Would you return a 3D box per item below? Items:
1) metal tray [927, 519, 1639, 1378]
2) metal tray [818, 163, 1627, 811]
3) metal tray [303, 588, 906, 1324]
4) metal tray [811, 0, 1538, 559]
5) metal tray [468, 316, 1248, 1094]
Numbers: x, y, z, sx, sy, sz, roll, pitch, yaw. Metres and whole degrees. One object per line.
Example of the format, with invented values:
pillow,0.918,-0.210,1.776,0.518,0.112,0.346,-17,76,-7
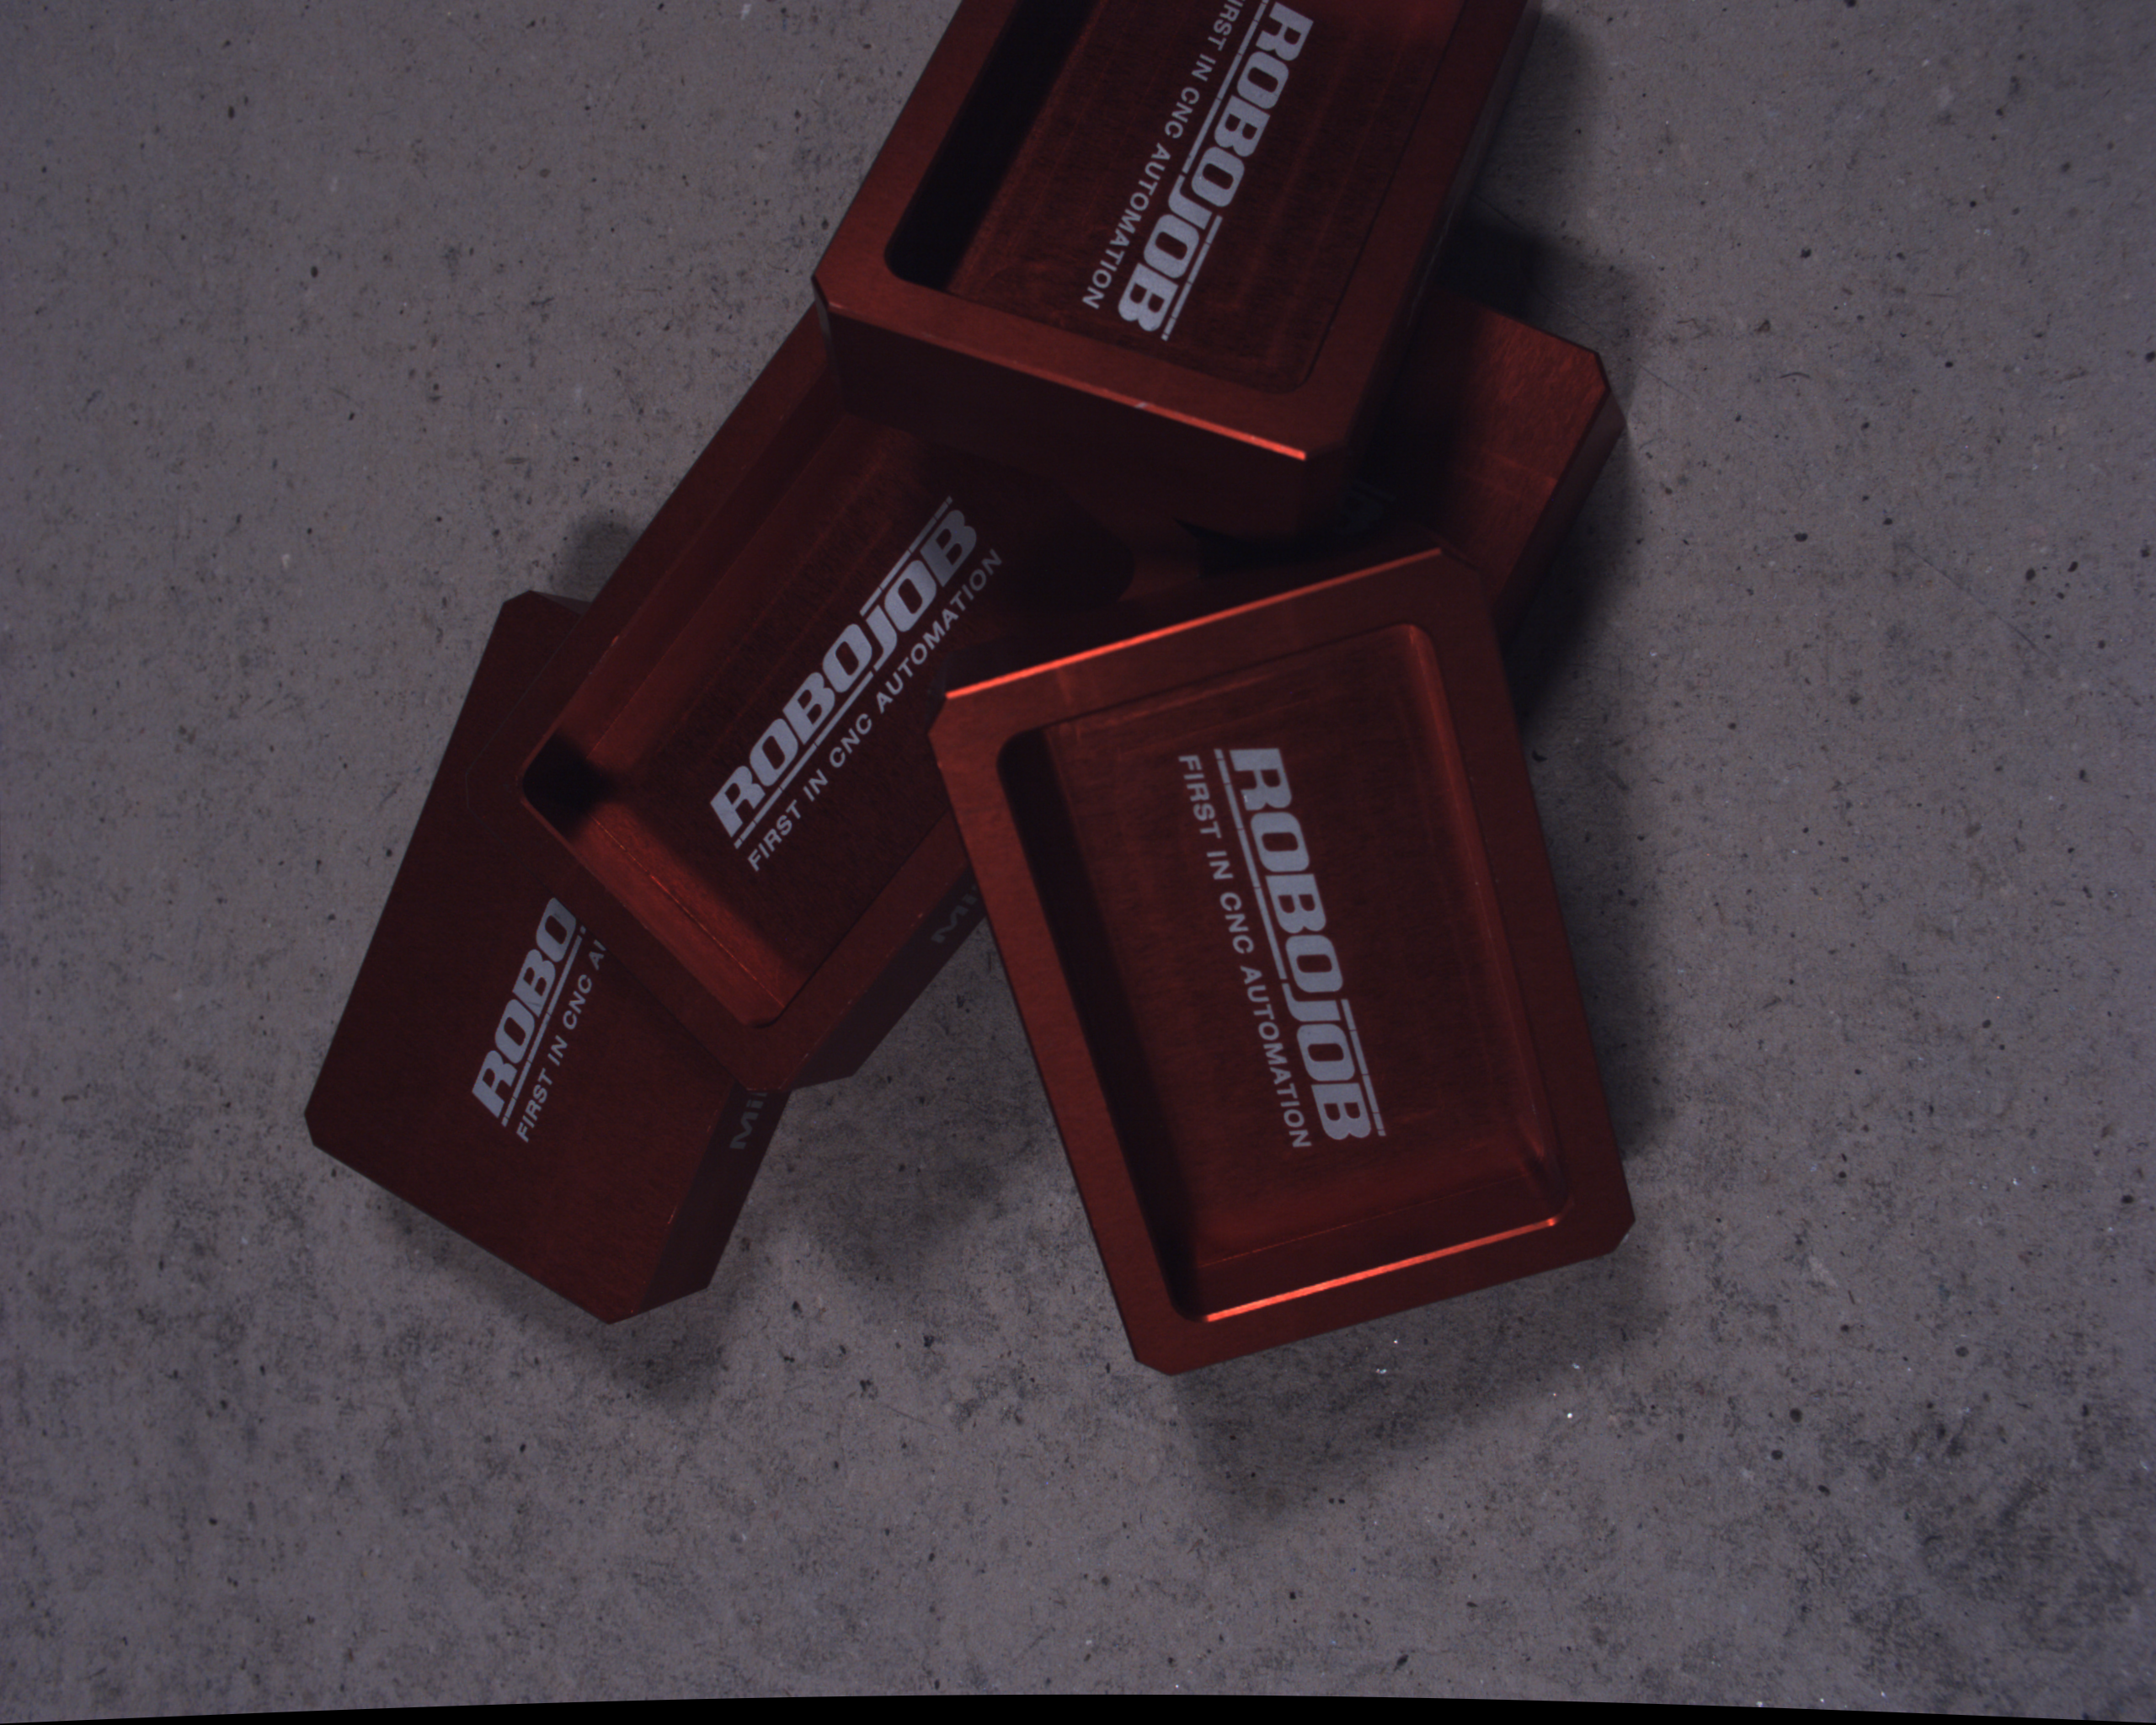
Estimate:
metal tray,0.036,0.017,0.358,0.090,0.030,0.129,-17,109,2
metal tray,0.025,-0.076,0.398,0.130,0.030,0.090,28,99,17
metal tray,-0.100,0.019,0.441,0.090,0.030,0.129,26,98,17
metal tray,0.021,-0.125,0.363,0.090,0.030,0.130,20,69,8
metal tray,-0.043,-0.032,0.390,0.090,0.030,0.130,43,103,14
